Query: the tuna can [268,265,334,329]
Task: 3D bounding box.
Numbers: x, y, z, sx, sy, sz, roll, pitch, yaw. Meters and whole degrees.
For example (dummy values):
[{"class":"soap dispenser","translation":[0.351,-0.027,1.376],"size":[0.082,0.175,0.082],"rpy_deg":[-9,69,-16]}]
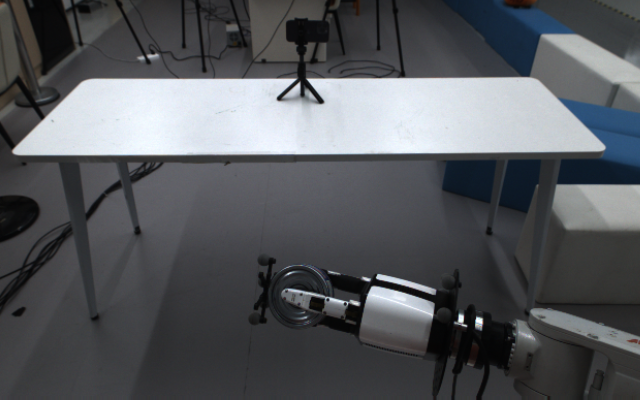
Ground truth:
[{"class":"tuna can","translation":[-0.022,0.131,0.644],"size":[0.085,0.085,0.034],"rpy_deg":[9,-6,10]}]
